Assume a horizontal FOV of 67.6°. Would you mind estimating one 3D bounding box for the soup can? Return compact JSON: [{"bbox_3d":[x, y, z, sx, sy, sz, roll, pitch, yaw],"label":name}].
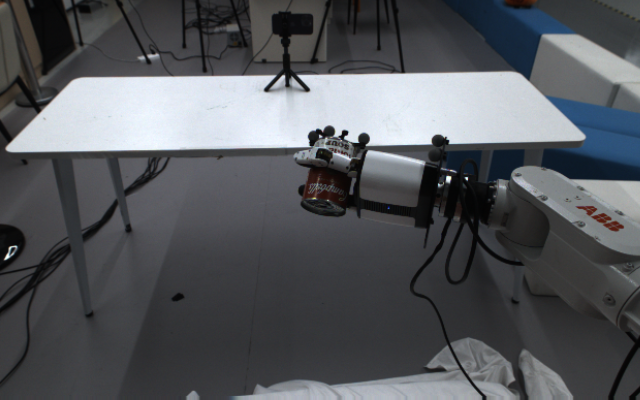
[{"bbox_3d":[0.015,-0.034,0.712,0.067,0.067,0.101,9,71,9],"label":"soup can"}]
